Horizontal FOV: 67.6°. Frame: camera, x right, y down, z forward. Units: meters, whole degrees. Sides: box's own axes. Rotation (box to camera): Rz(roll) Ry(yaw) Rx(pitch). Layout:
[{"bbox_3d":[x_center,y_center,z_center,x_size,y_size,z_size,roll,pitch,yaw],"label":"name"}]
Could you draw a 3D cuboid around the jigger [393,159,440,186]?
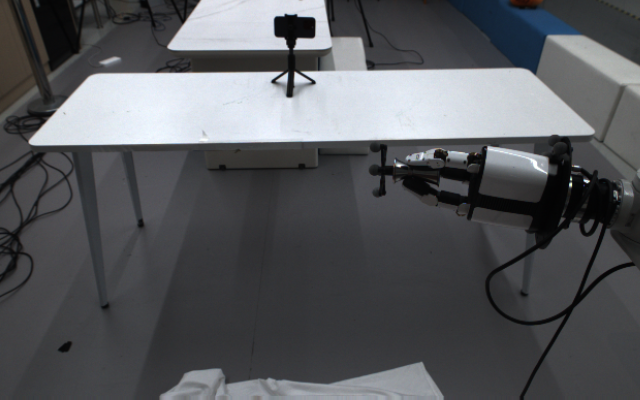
[{"bbox_3d":[0.153,-0.048,0.734,0.071,0.043,0.043,2,34,14],"label":"jigger"}]
